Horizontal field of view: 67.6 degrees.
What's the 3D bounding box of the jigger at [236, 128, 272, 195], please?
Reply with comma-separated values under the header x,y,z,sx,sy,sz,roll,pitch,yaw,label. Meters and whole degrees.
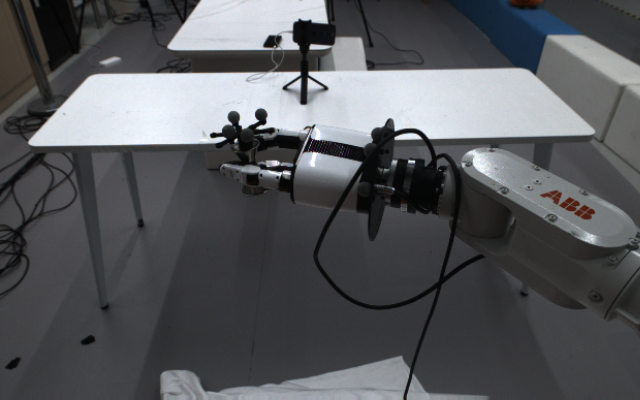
x,y,z,sx,sy,sz,roll,pitch,yaw,label
-0.093,-0.047,0.668,0.043,0.071,0.043,-8,31,5,jigger
